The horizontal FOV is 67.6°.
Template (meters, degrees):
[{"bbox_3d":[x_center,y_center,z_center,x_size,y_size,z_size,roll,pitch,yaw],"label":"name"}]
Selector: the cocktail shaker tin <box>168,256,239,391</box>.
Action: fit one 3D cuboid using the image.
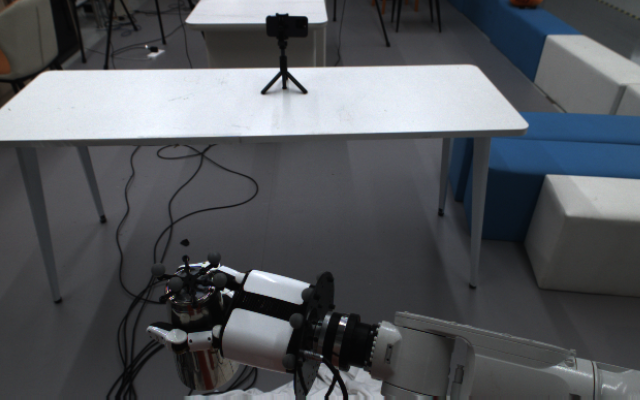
[{"bbox_3d":[-0.160,0.171,0.663,0.093,0.170,0.093,0,39,0],"label":"cocktail shaker tin"}]
